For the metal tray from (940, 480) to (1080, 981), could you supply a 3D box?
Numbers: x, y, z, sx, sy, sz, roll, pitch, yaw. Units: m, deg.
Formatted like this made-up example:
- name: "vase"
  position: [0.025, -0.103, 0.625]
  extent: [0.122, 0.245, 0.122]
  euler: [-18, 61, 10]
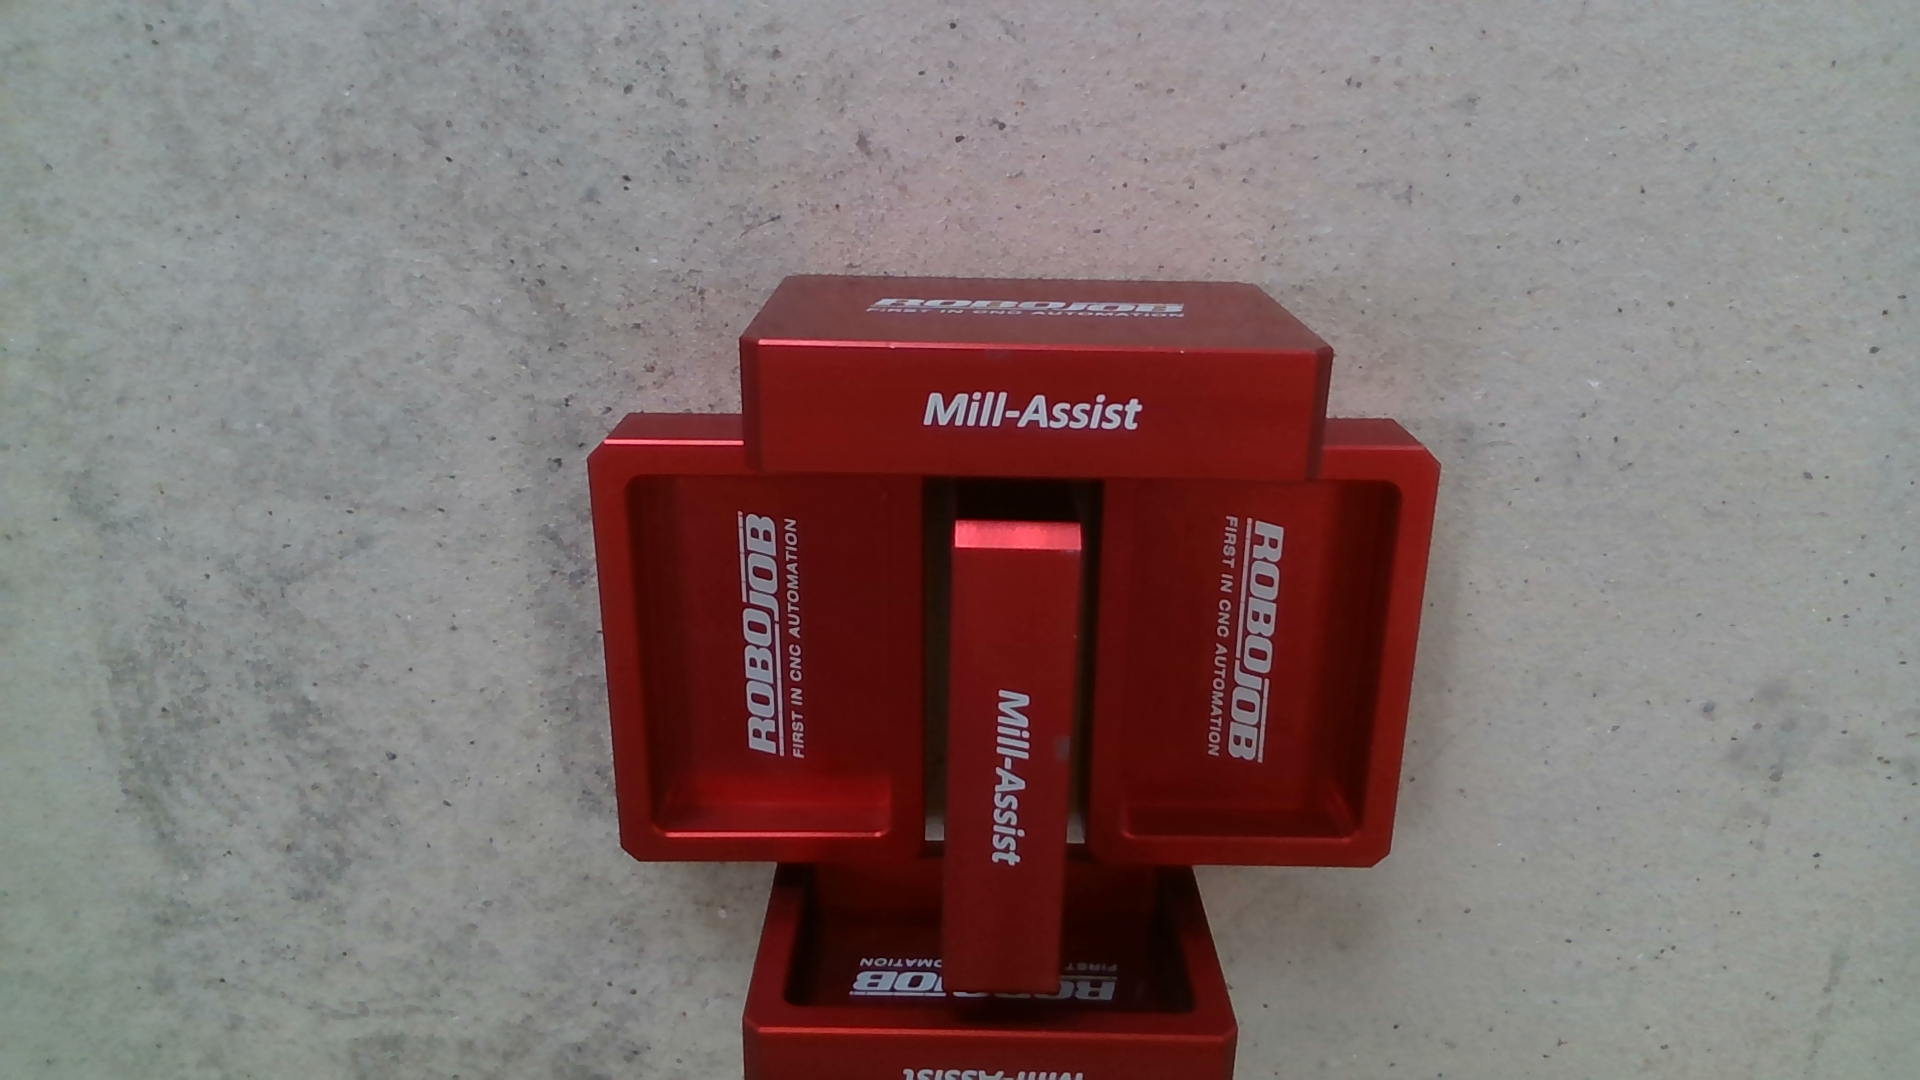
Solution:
- name: "metal tray"
  position: [0.012, 0.041, 0.375]
  extent: [0.030, 0.090, 0.130]
  euler: [2, 110, 1]

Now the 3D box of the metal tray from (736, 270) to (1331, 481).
- name: "metal tray"
  position: [0.016, -0.044, 0.343]
  extent: [0.130, 0.090, 0.030]
  euler: [1, 110, 0]

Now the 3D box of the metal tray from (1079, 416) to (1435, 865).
- name: "metal tray"
  position: [0.082, 0.030, 0.402]
  extent: [0.090, 0.030, 0.130]
  euler: [1, 110, 3]

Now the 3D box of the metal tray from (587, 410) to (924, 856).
- name: "metal tray"
  position: [-0.056, 0.029, 0.403]
  extent: [0.090, 0.030, 0.130]
  euler: [0, 110, -1]

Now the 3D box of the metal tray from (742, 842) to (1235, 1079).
- name: "metal tray"
  position: [0.007, 0.126, 0.405]
  extent: [0.130, 0.090, 0.030]
  euler: [1, 110, -1]
